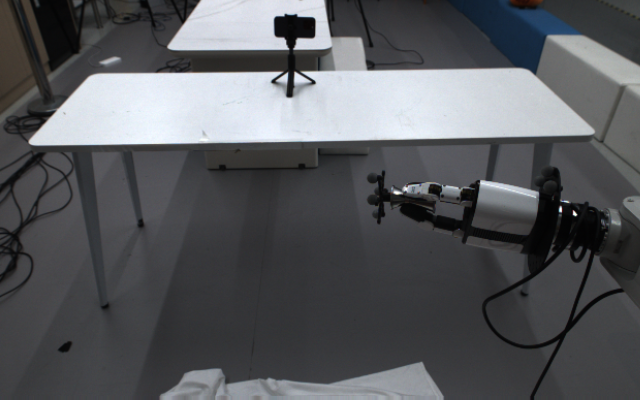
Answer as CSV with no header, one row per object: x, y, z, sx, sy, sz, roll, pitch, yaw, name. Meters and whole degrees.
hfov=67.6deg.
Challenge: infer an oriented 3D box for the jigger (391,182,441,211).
0.154,-0.008,0.764,0.071,0.043,0.043,2,34,15,jigger
